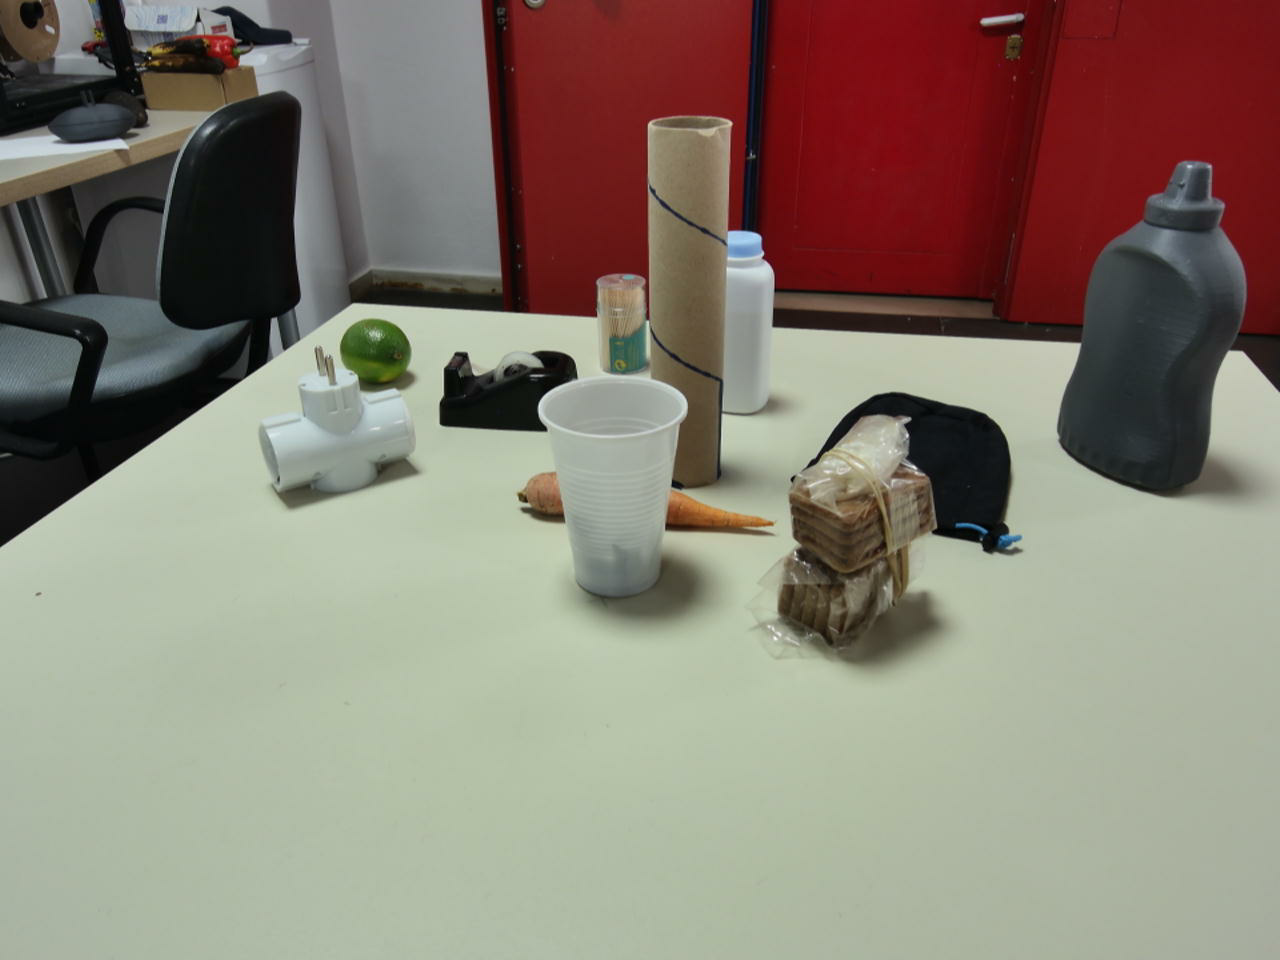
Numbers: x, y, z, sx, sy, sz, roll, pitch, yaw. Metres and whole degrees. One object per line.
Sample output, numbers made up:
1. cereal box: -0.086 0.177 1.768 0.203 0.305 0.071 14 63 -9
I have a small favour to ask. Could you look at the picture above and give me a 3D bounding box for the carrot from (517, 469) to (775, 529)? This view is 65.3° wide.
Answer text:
1. carrot: 0.002 0.013 0.620 0.163 0.029 0.031 5 27 11
